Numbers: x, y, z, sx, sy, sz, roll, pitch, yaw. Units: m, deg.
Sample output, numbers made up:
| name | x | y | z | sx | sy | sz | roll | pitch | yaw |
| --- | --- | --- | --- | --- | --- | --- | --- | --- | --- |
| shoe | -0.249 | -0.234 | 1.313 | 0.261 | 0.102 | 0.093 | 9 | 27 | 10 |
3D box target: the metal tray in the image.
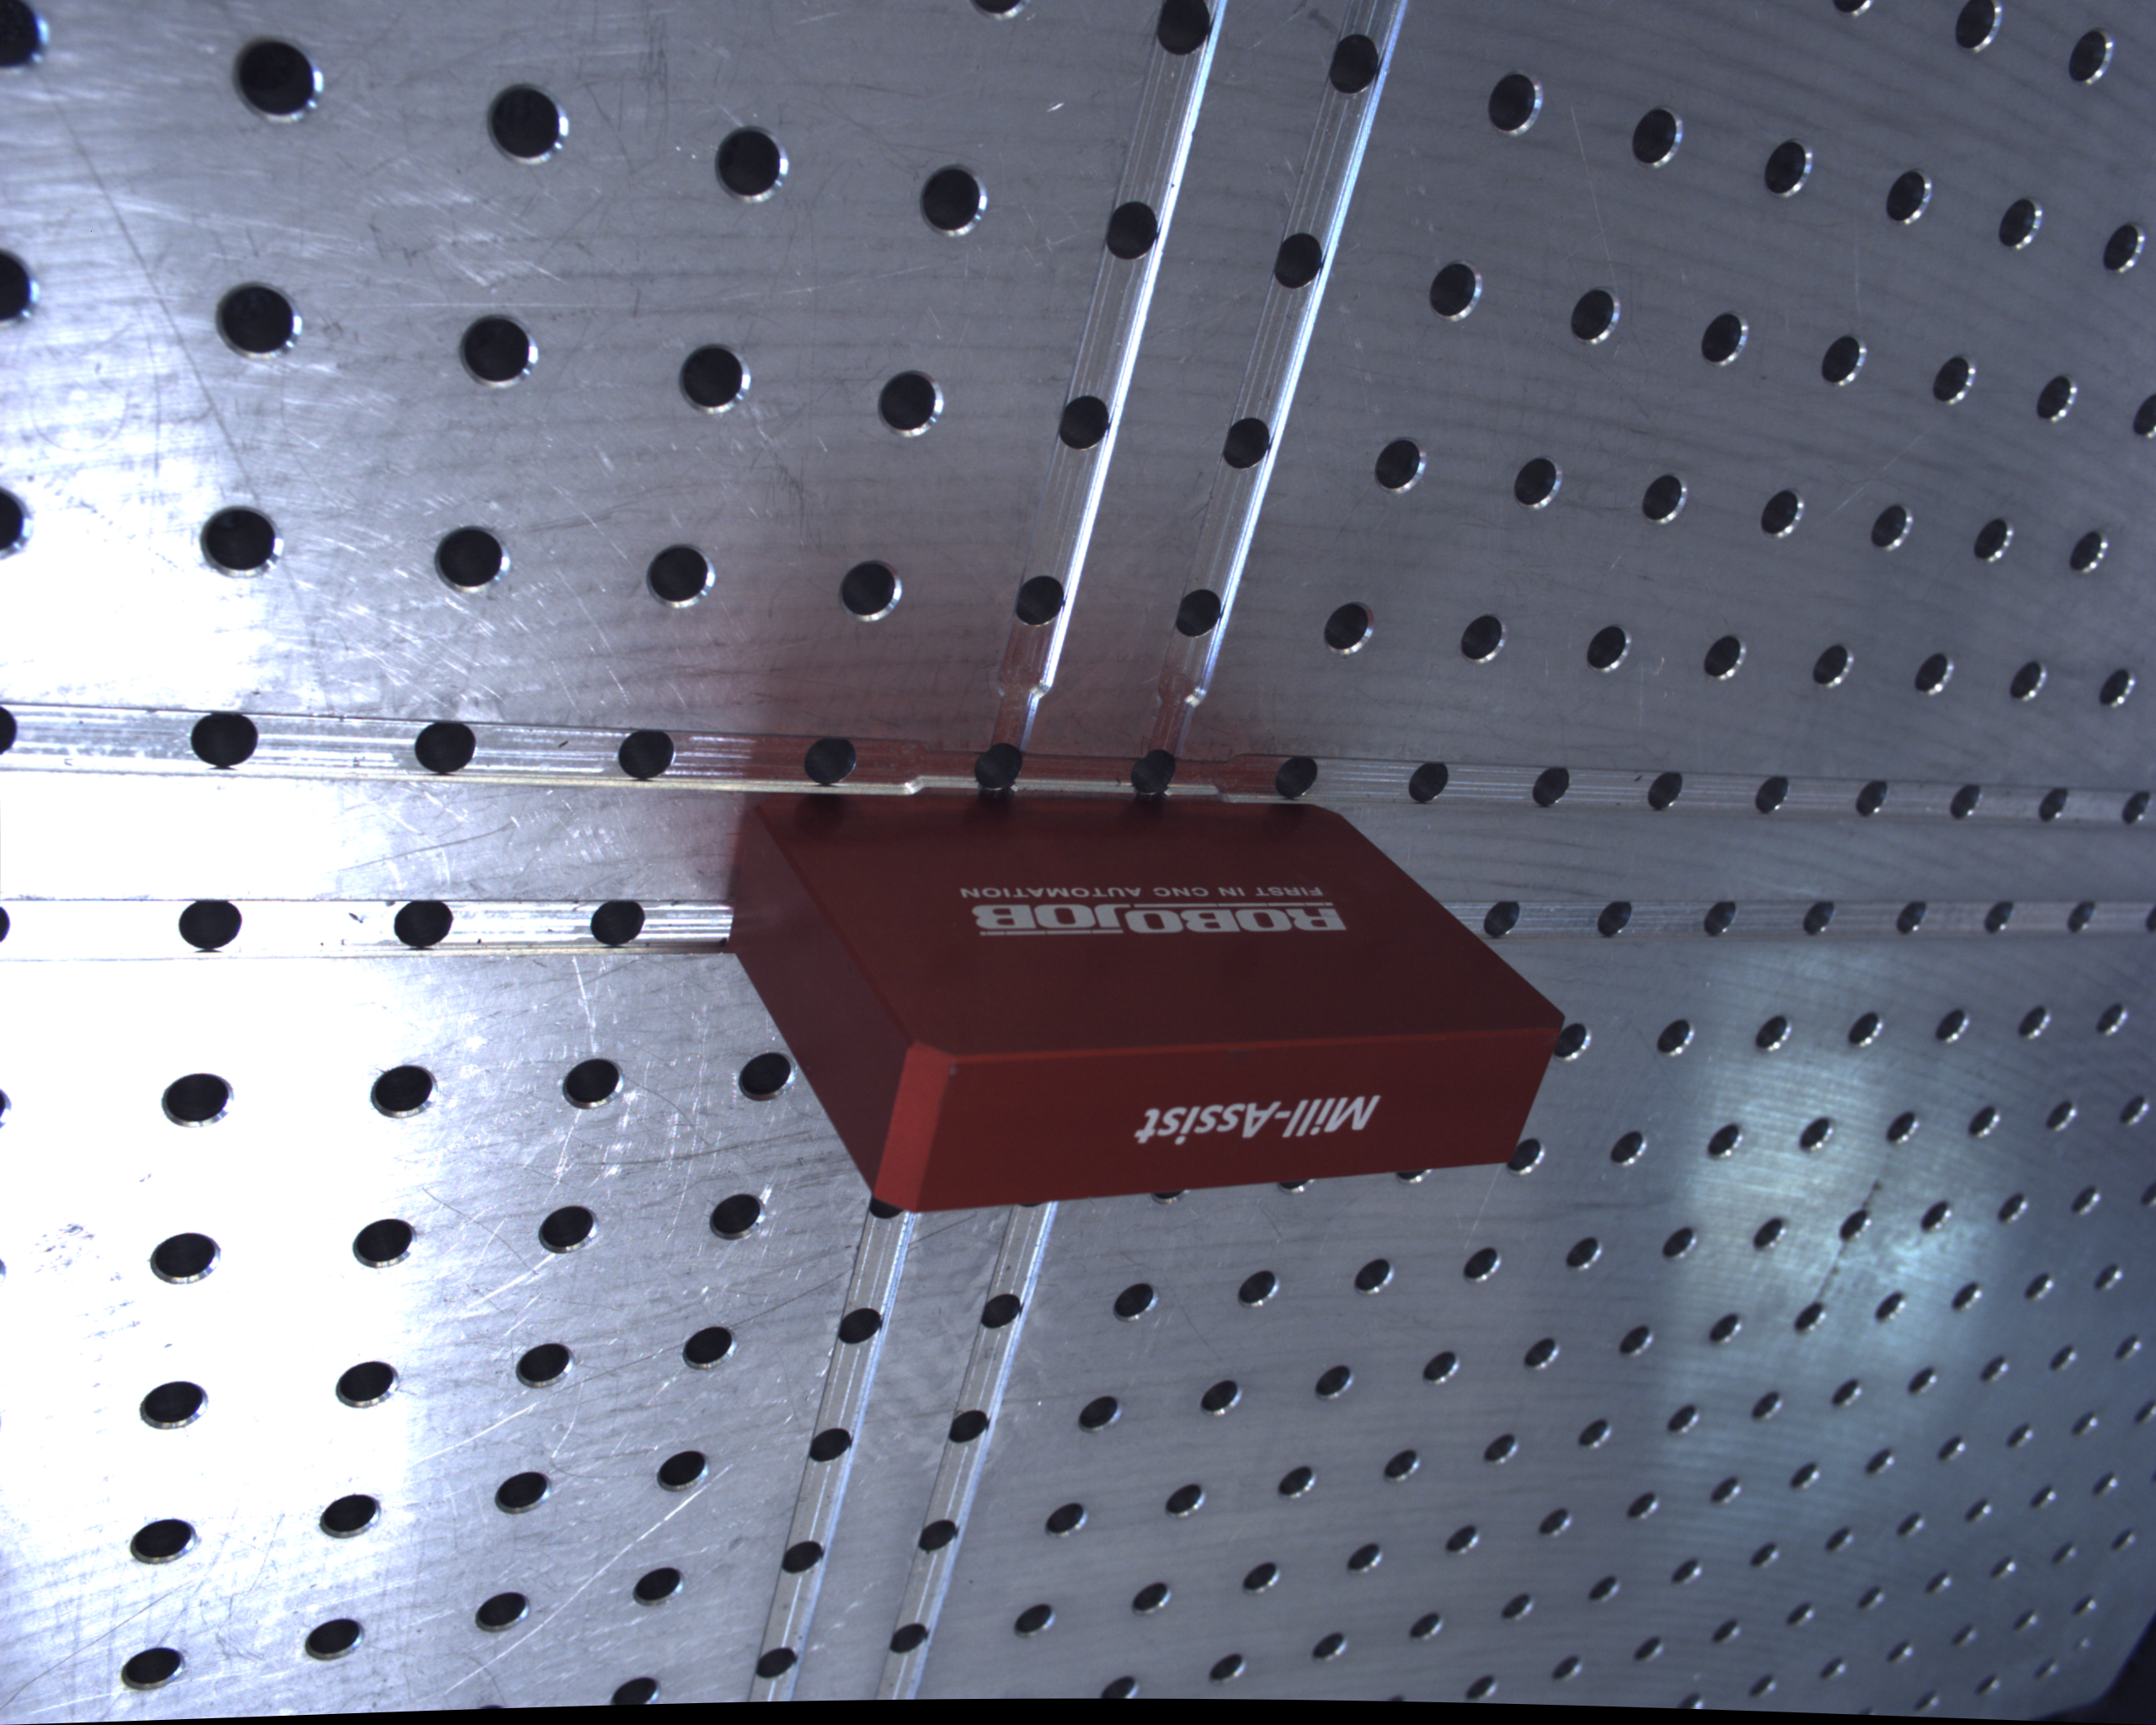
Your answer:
| name | x | y | z | sx | sy | sz | roll | pitch | yaw |
| --- | --- | --- | --- | --- | --- | --- | --- | --- | --- |
| metal tray | 0.012 | 0.022 | 0.388 | 0.131 | 0.090 | 0.030 | 0 | 119 | -28 |
